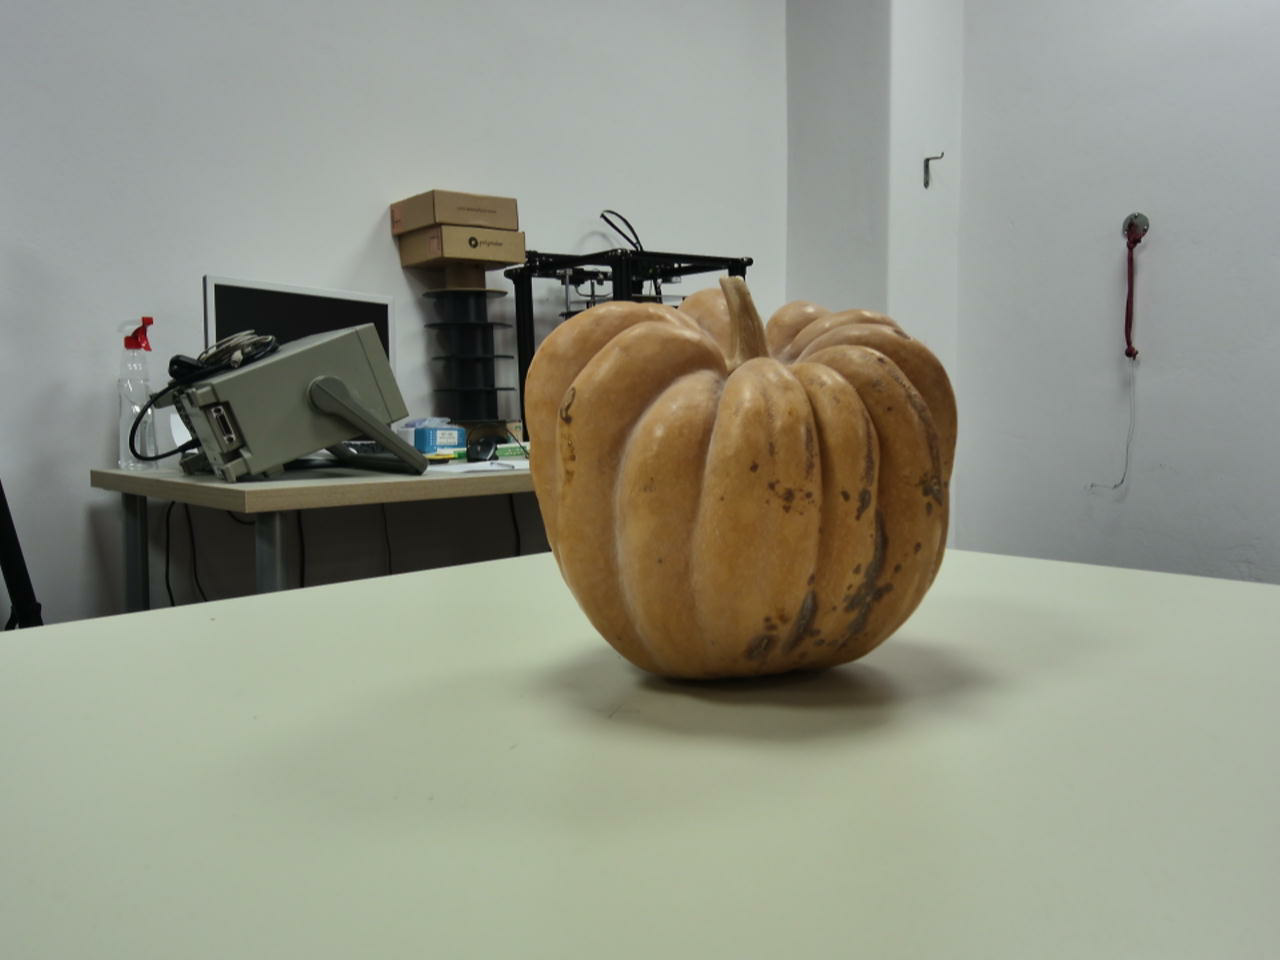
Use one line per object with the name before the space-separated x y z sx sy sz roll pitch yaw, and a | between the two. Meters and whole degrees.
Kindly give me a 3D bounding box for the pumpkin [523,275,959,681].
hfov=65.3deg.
pumpkin | 0.046 -0.001 0.459 0.199 0.177 0.198 0 3 0
